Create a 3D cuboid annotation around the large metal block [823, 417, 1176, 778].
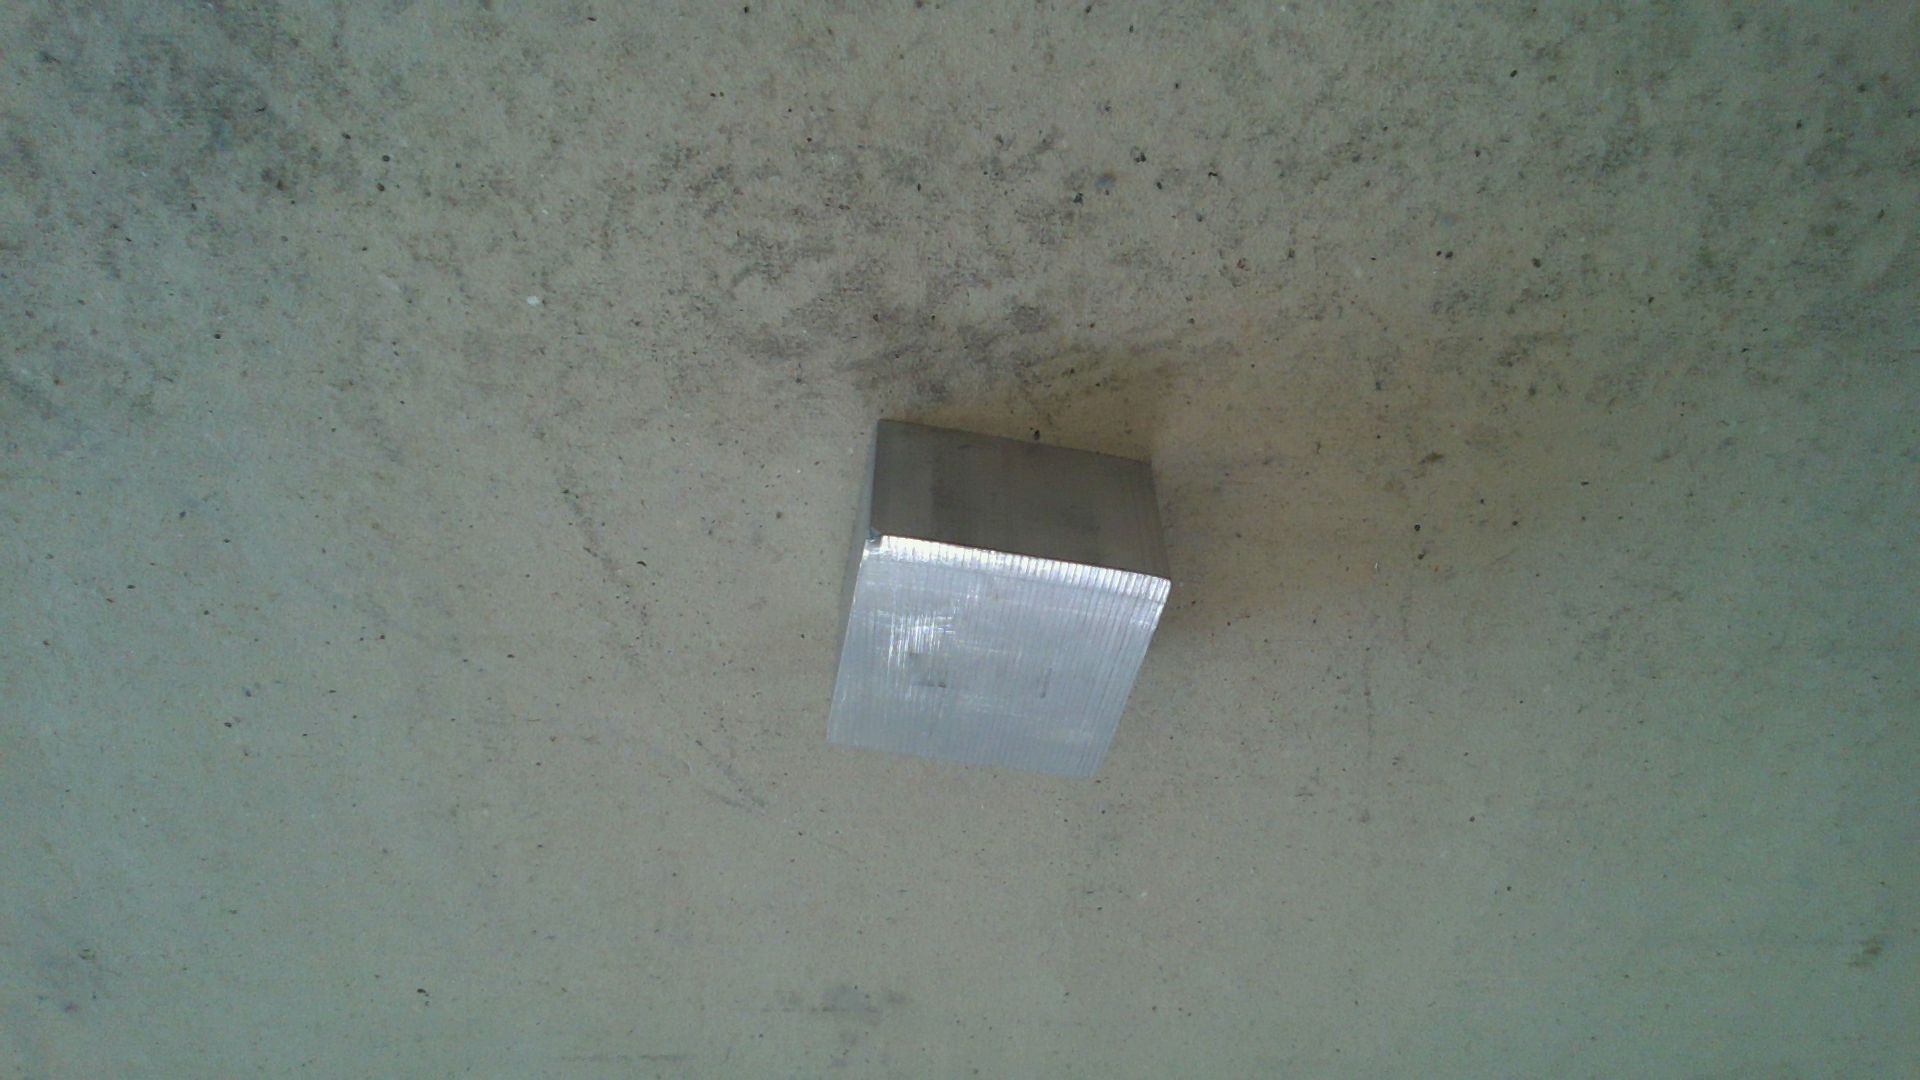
[{"bbox_3d":[0.008,0.018,0.389,0.080,0.050,0.080,8,130,-8],"label":"large metal block"}]
